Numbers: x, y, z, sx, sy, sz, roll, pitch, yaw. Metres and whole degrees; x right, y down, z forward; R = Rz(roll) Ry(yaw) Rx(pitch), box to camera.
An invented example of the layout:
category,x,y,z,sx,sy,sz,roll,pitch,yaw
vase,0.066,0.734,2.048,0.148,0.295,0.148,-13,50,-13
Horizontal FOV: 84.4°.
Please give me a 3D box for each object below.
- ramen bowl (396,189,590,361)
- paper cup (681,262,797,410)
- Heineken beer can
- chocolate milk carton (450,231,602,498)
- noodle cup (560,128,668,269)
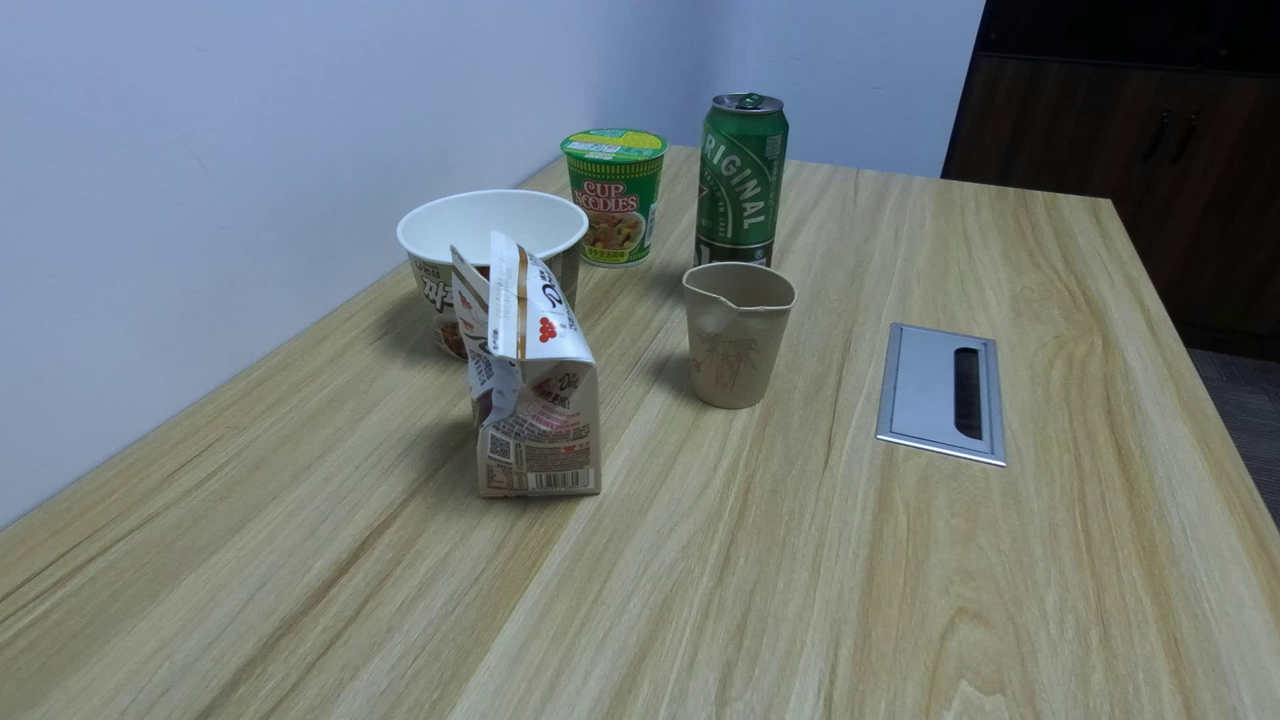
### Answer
category,x,y,z,sx,sy,sz,roll,pitch,yaw
ramen bowl,-0.109,-0.065,0.555,0.140,0.095,0.140,1,34,0
paper cup,0.065,-0.016,0.487,0.073,0.081,0.068,-5,33,-11
Heineken beer can,0.081,-0.123,0.576,0.067,0.169,0.067,1,32,-1
chocolate milk carton,-0.063,0.008,0.400,0.077,0.156,0.089,-6,47,-5
noodle cup,-0.022,-0.149,0.663,0.097,0.110,0.097,0,33,0
